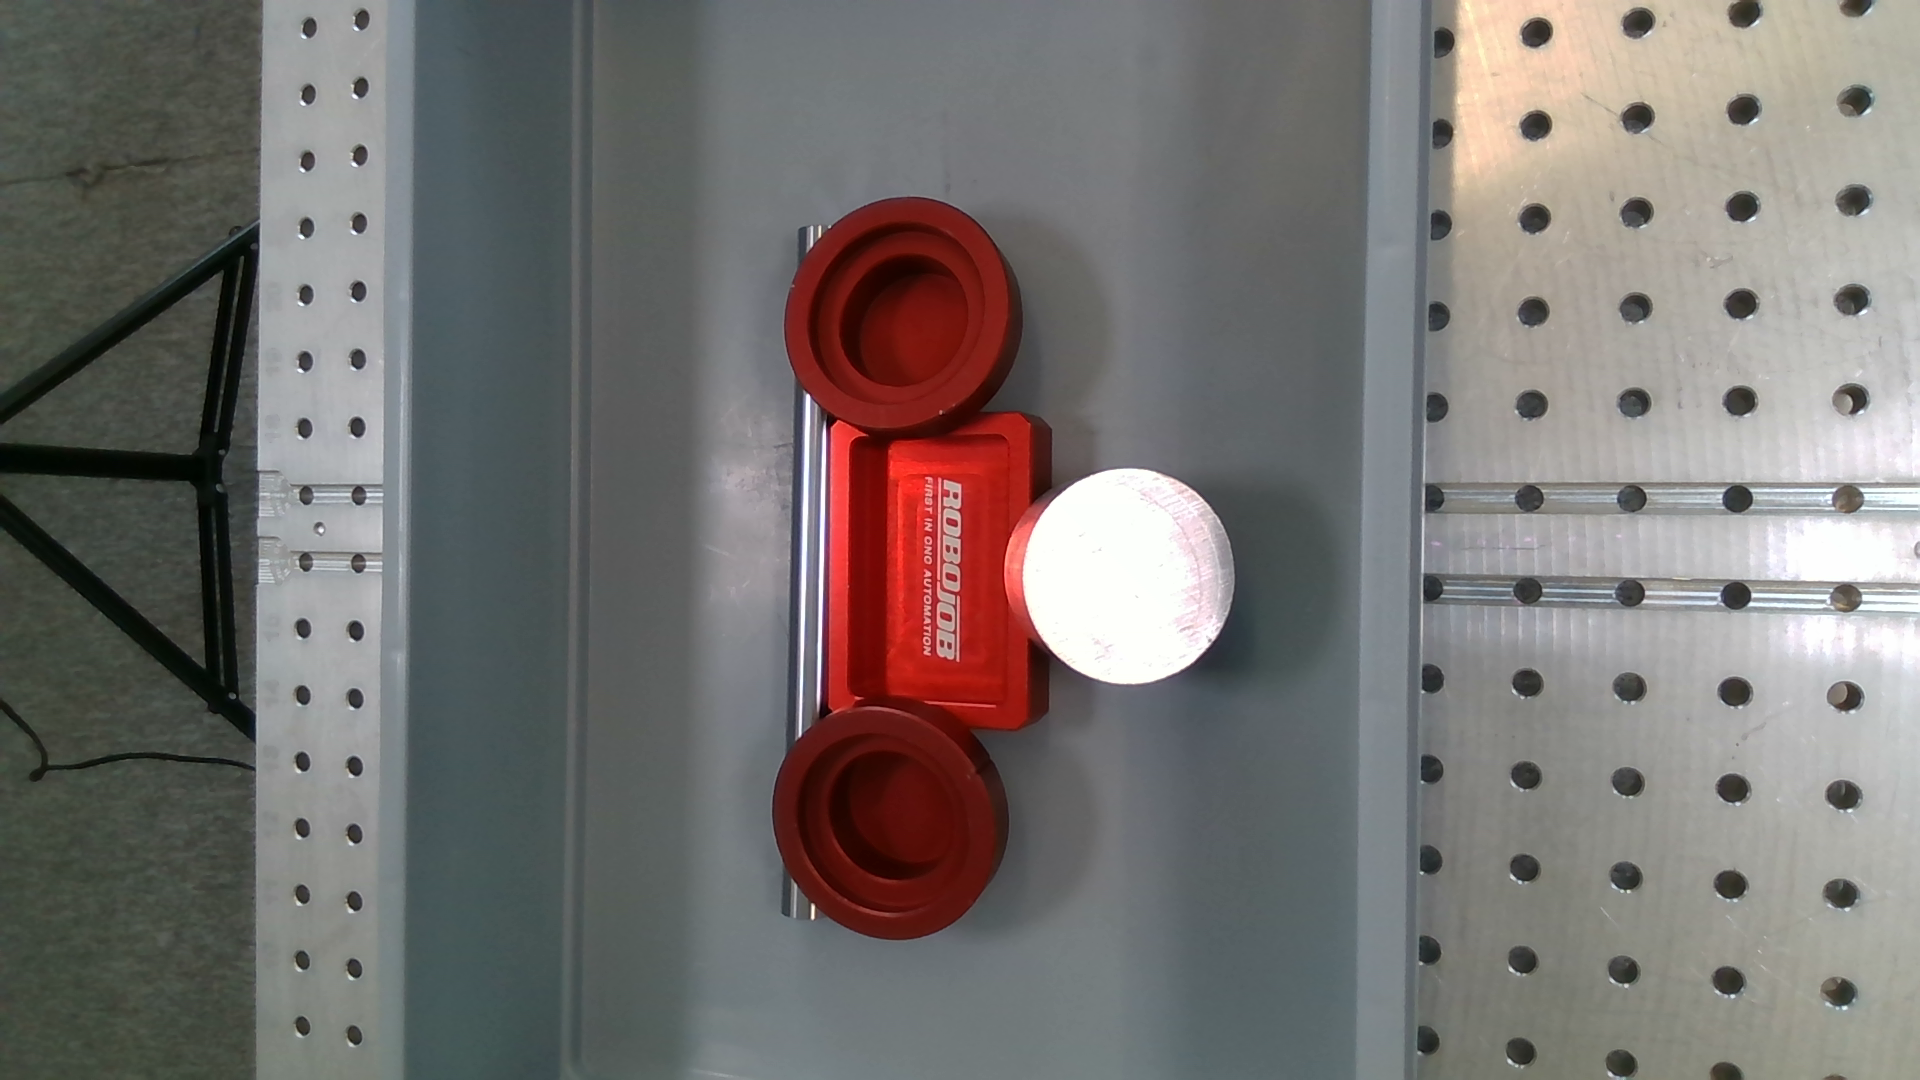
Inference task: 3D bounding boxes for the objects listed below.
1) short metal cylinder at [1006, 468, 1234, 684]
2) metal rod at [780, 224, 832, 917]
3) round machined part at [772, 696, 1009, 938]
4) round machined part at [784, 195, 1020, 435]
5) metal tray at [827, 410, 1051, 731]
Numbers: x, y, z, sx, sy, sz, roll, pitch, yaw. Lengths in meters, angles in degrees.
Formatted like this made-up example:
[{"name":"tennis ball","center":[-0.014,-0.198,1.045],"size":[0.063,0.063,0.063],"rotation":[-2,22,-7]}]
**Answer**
[{"name":"short metal cylinder","center":[0.060,0.013,0.534],"size":[0.080,0.050,0.080],"rotation":[0,90,-6]},{"name":"metal rod","center":[-0.064,0.014,0.608],"size":[0.025,0.025,0.300],"rotation":[2,91,20]},{"name":"round machined part","center":[-0.026,0.113,0.581],"size":[0.098,0.042,0.098],"rotation":[3,99,18]},{"name":"round machined part","center":[-0.021,-0.090,0.577],"size":[0.098,0.042,0.098],"rotation":[-3,81,17]},{"name":"metal tray","center":[-0.009,0.012,0.585],"size":[0.090,0.030,0.130],"rotation":[1,91,21]}]
